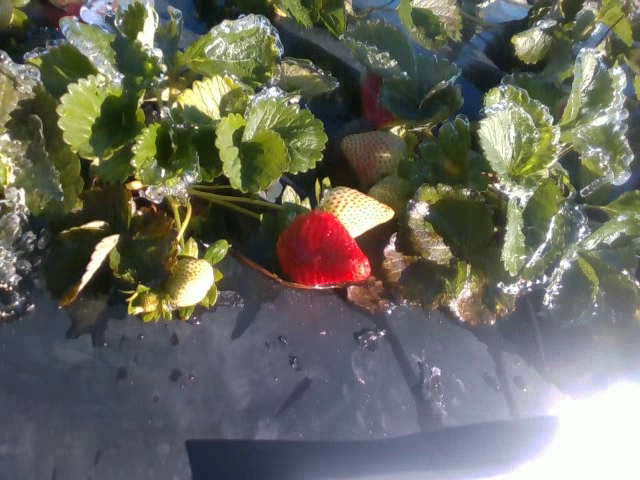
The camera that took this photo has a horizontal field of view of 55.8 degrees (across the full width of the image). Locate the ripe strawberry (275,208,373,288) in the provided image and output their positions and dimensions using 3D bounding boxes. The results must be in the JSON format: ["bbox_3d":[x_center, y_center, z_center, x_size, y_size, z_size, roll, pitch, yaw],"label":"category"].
[{"bbox_3d":[0.005,0.007,0.270,0.040,0.042,0.053,-36,36,-23],"label":"ripe strawberry"}]
